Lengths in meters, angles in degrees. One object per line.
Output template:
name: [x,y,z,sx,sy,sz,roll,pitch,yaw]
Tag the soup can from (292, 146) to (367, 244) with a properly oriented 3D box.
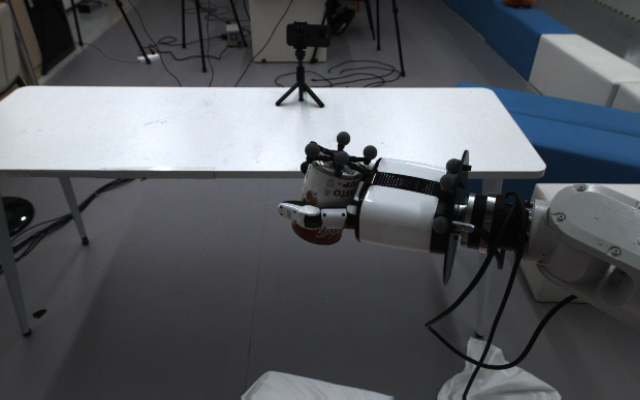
soup can: [0.010,-0.003,0.606,0.067,0.101,0.067,13,30,-8]
